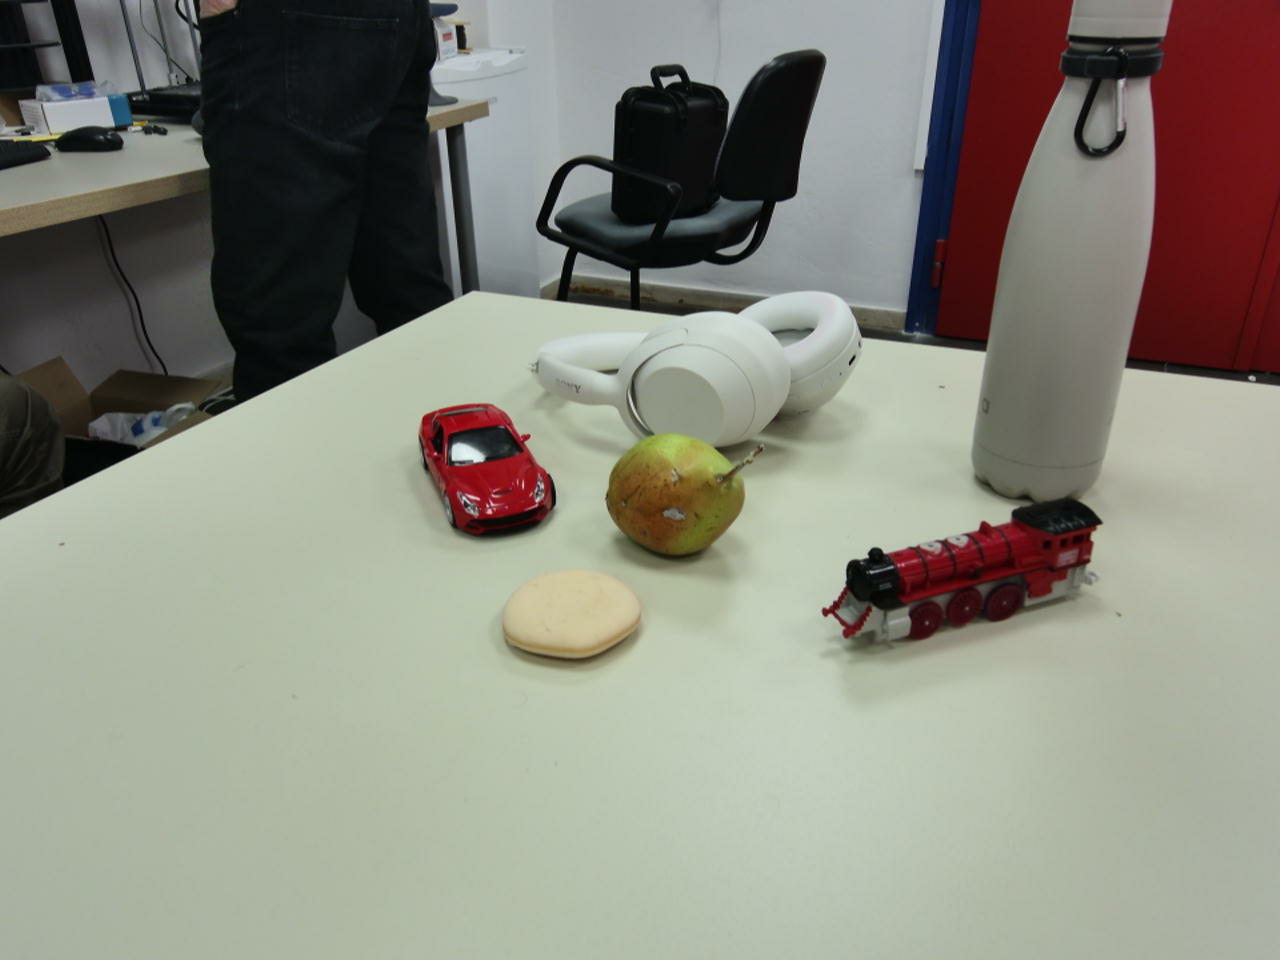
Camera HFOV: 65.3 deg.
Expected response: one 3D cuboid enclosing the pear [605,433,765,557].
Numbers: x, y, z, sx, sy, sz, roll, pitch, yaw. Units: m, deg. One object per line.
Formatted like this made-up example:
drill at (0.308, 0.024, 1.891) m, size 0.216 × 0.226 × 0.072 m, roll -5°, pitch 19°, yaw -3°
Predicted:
pear at (0.018, 0.005, 0.517) m, size 0.068 × 0.069 × 0.070 m, roll -6°, pitch 26°, yaw -13°
